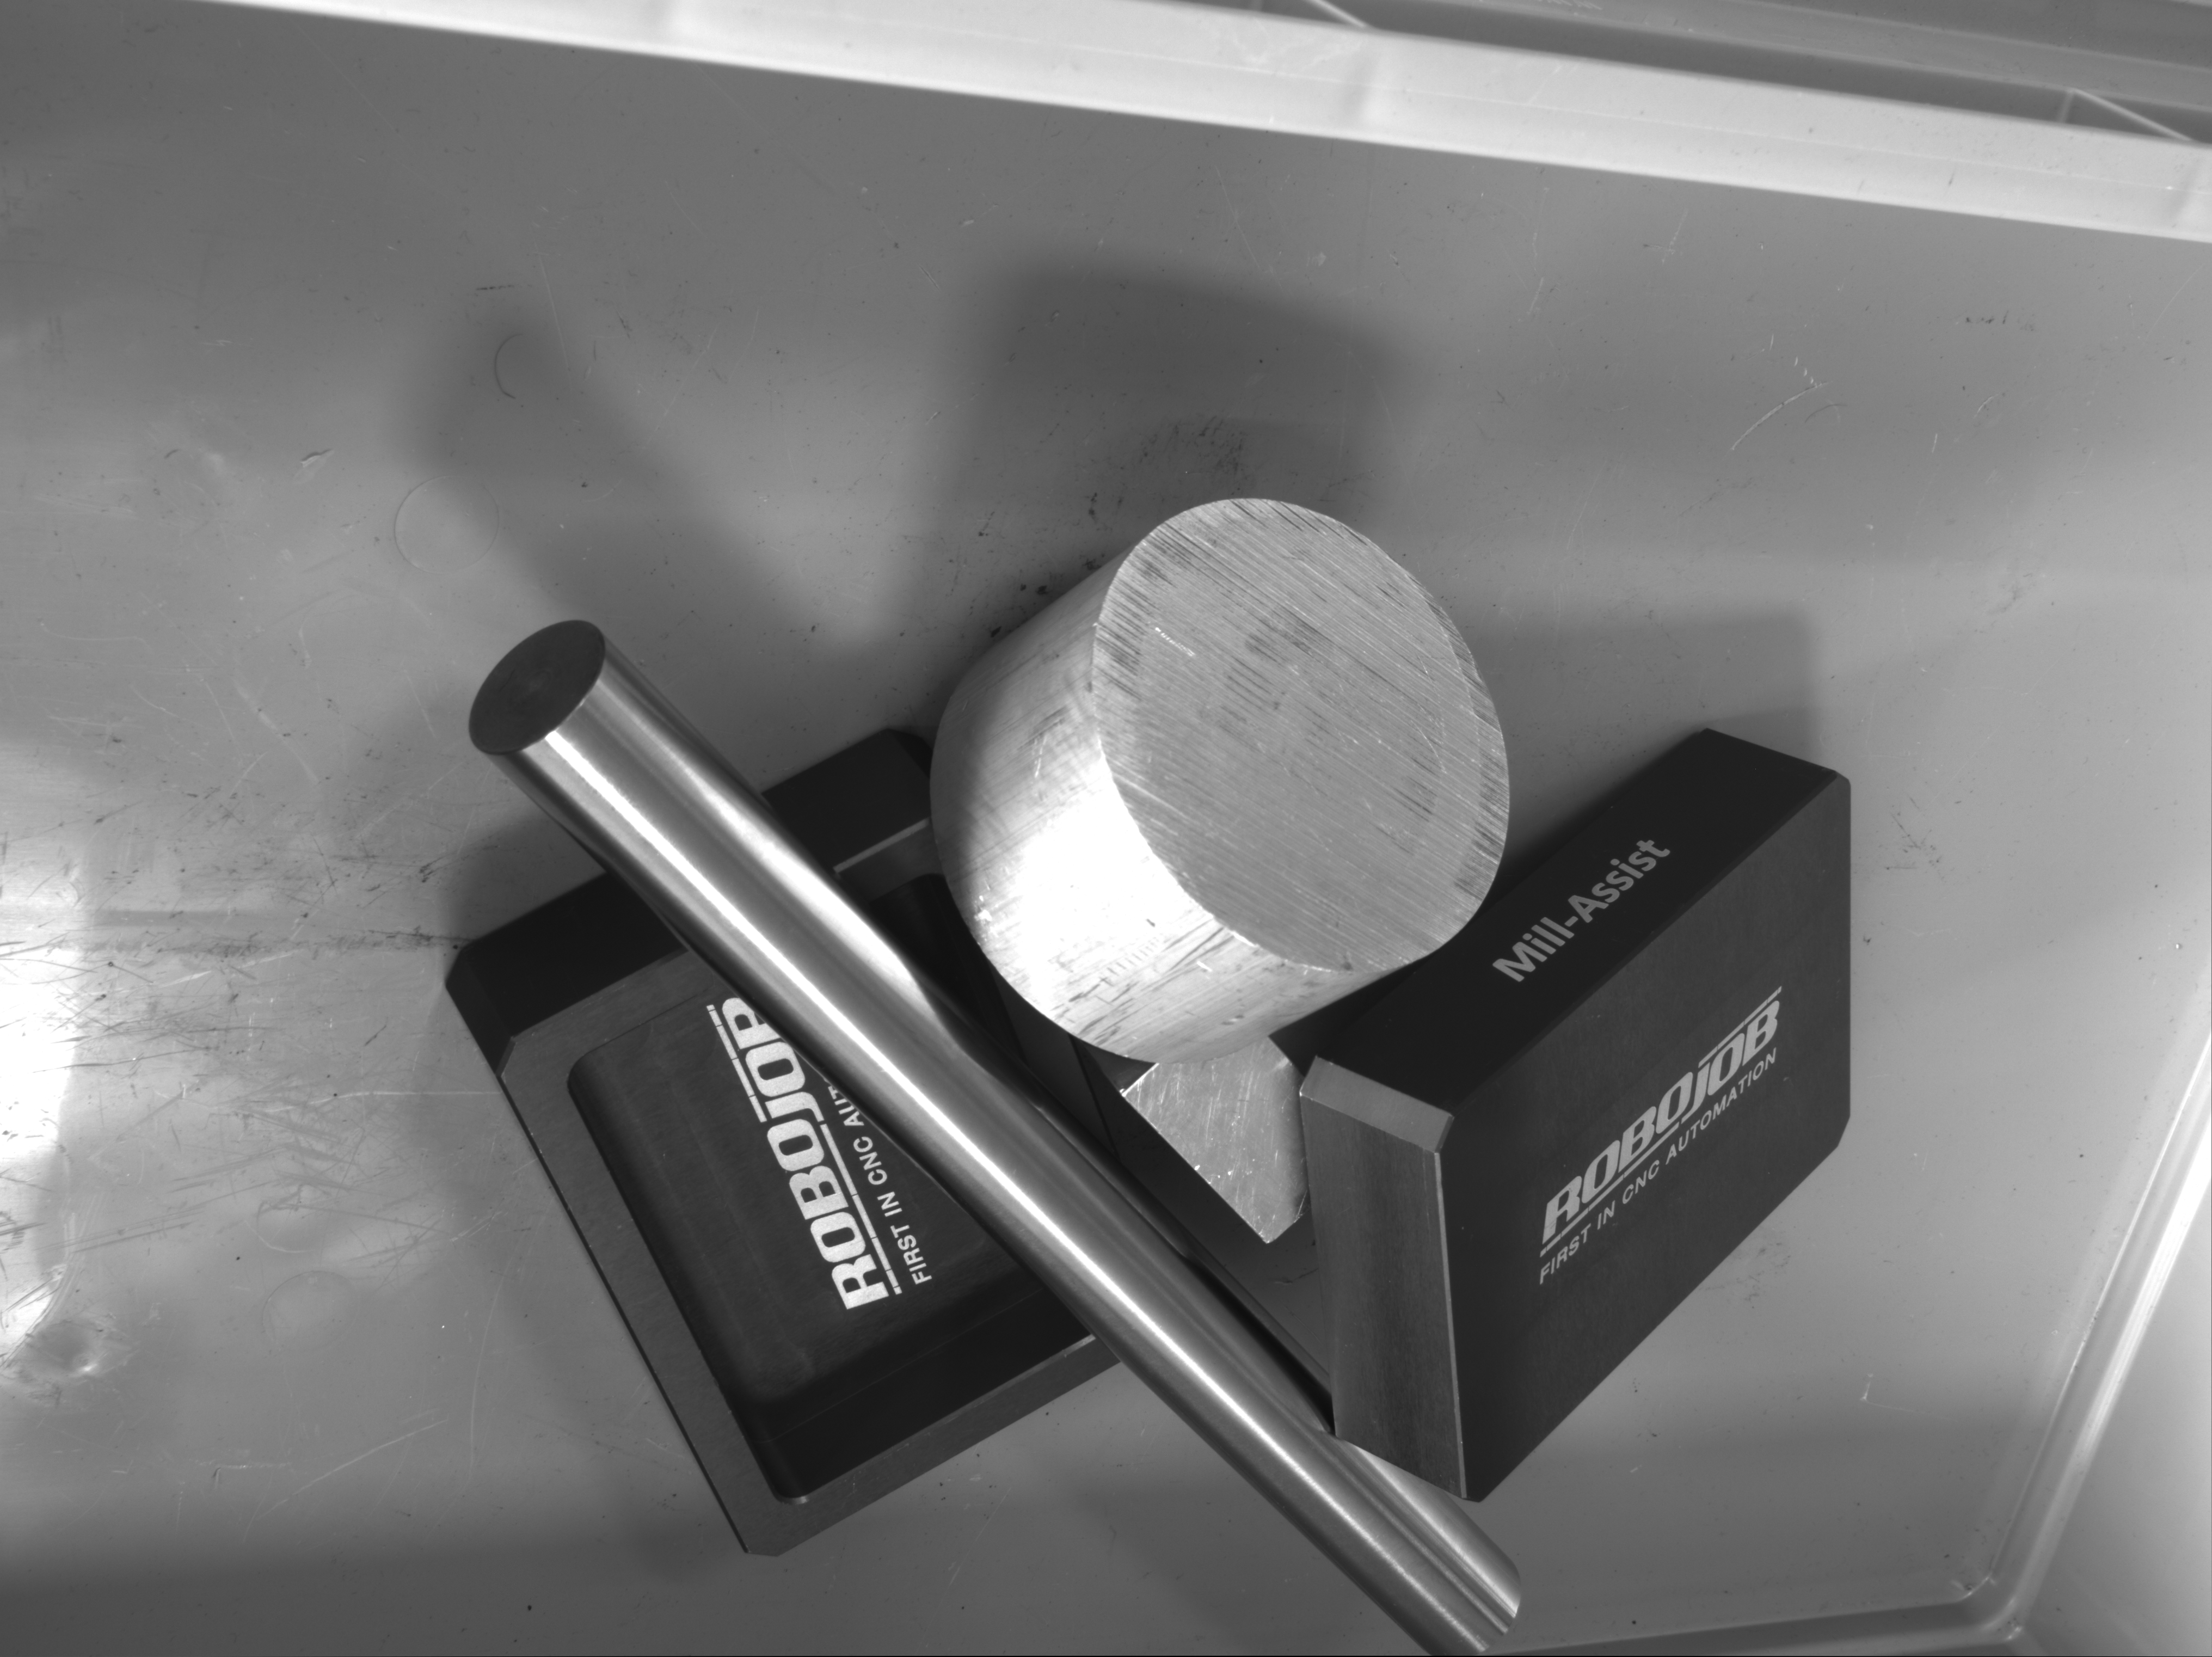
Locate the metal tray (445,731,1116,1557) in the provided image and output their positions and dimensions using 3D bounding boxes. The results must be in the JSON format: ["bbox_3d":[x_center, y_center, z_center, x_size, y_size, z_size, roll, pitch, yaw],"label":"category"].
[{"bbox_3d":[-0.048,0.057,0.641,0.090,0.030,0.130,-28,128,-11],"label":"metal tray"}]

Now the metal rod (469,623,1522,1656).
[{"bbox_3d":[-0.006,0.067,0.635,0.025,0.025,0.301,-42,129,0],"label":"metal rod"}]

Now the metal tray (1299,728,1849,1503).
[{"bbox_3d":[0.090,0.051,0.680,0.130,0.030,0.090,-37,133,-36],"label":"metal tray"}]

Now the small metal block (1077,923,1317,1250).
[{"bbox_3d":[0.015,0.040,0.651,0.025,0.050,0.050,-42,129,1],"label":"small metal block"}]

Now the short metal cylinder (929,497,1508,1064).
[{"bbox_3d":[0.018,-0.007,0.598,0.080,0.080,0.050,8,156,-32],"label":"short metal cylinder"}]
